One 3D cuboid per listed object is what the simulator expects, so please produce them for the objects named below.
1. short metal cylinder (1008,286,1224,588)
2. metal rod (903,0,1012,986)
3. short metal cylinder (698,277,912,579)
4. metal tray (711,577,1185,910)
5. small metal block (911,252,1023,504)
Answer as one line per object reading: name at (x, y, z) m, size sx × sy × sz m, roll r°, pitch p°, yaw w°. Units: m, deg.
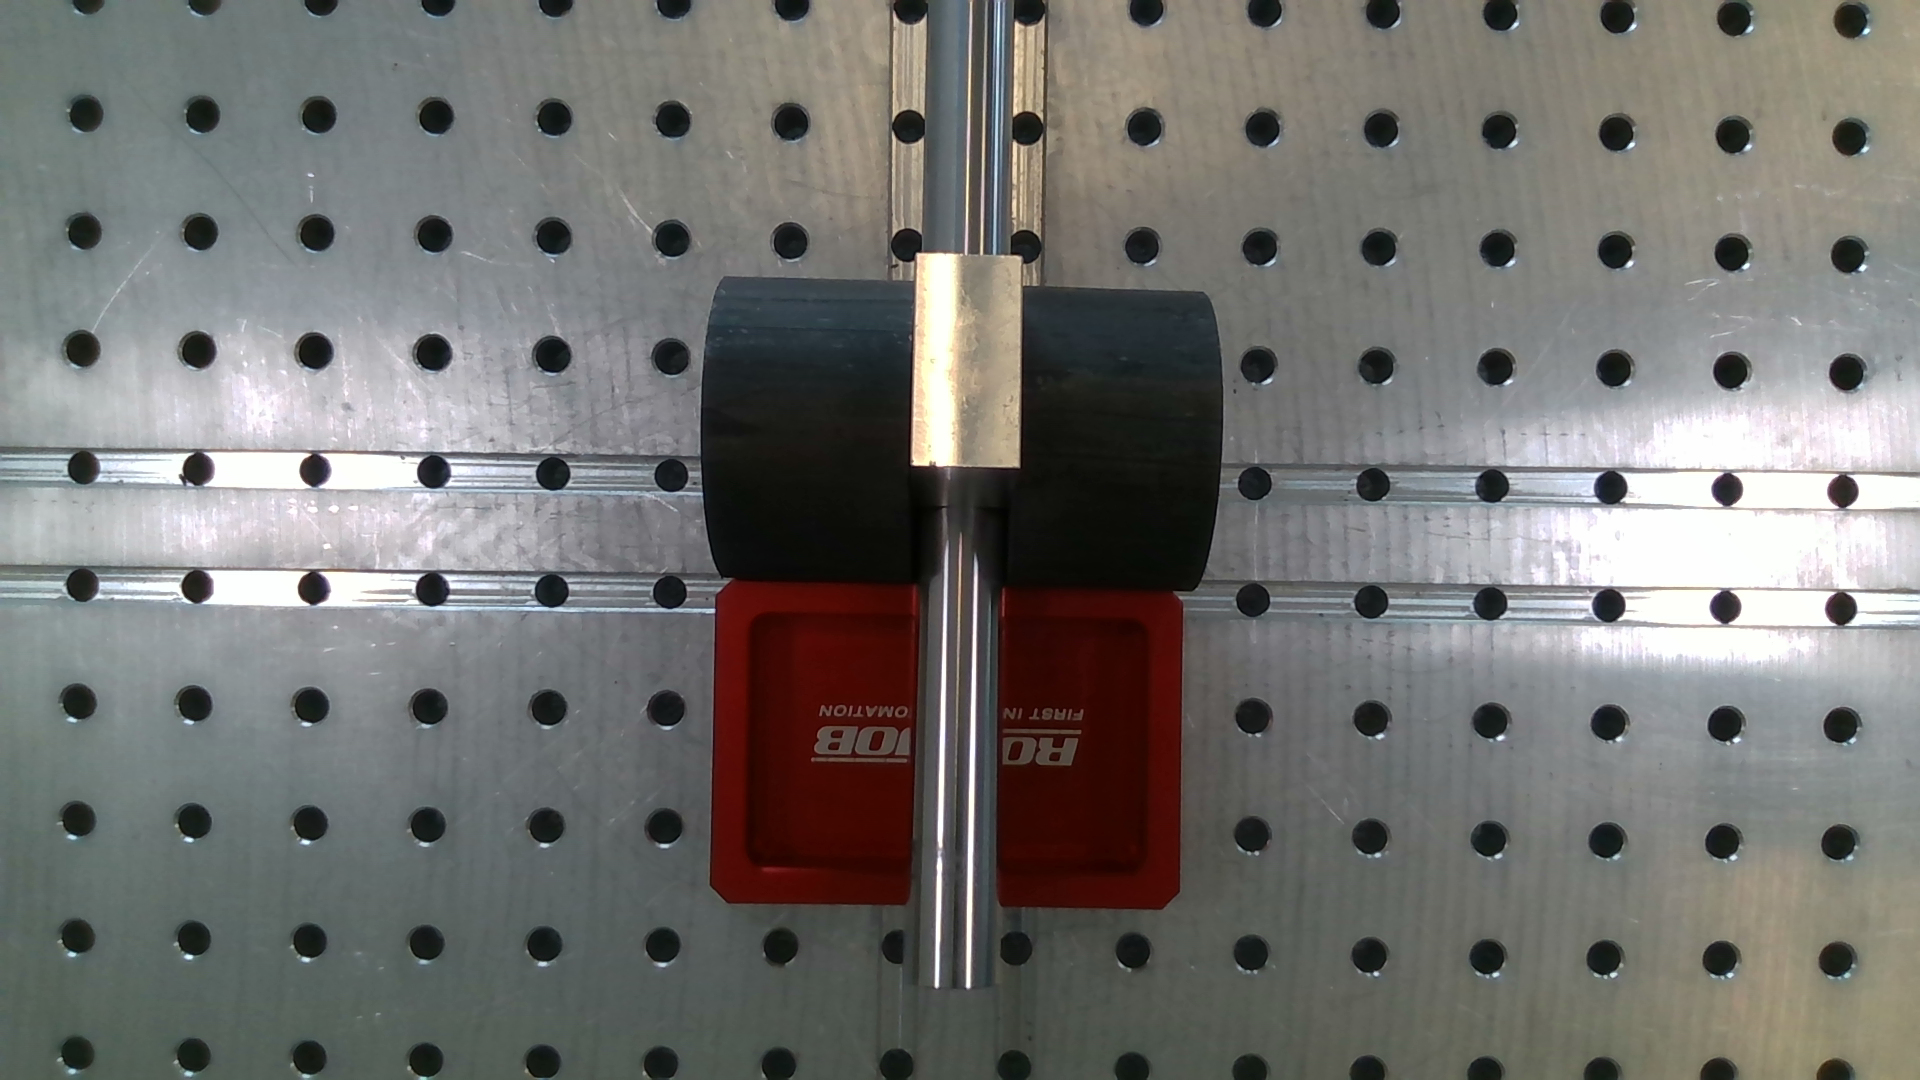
short metal cylinder at (0.038, -0.027, 0.369) m, size 0.050 × 0.080 × 0.080 m, roll 1°, pitch 90°, yaw 0°
metal rod at (0.001, -0.036, 0.374) m, size 0.025 × 0.025 × 0.300 m, roll 1°, pitch 81°, yaw 0°
short metal cylinder at (-0.038, -0.030, 0.370) m, size 0.050 × 0.080 × 0.080 m, roll 1°, pitch 90°, yaw 0°
metal tray at (-0.003, 0.056, 0.395) m, size 0.130 × 0.030 × 0.090 m, roll 1°, pitch 90°, yaw 0°
small metal block at (0.002, -0.038, 0.338) m, size 0.025 × 0.050 × 0.050 m, roll 1°, pitch 82°, yaw 0°
